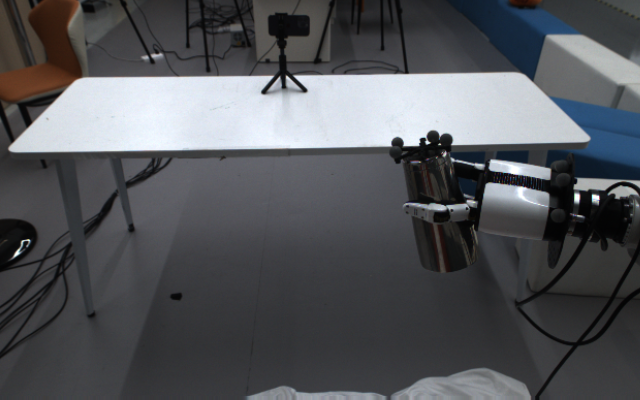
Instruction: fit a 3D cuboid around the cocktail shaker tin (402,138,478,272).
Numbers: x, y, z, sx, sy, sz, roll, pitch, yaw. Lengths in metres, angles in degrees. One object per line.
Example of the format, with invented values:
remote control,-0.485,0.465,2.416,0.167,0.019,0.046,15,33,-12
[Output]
cocktail shaker tin,0.174,0.009,0.711,0.093,0.170,0.093,-17,21,7
